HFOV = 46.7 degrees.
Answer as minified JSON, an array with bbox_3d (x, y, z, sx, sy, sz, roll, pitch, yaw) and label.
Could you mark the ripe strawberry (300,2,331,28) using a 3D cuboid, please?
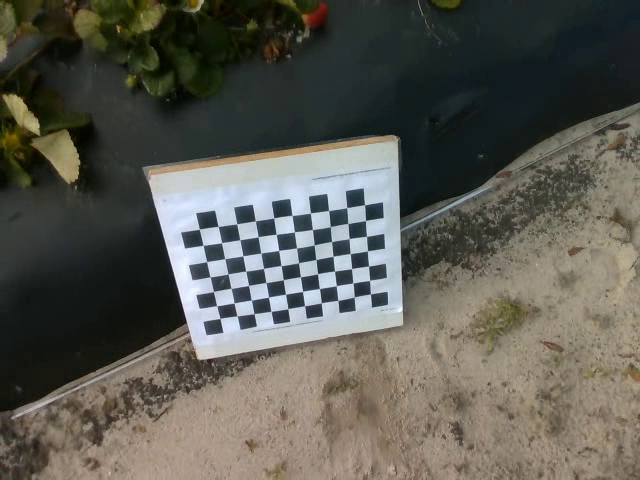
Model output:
[{"bbox_3d":[-0.006,-0.178,0.570,0.027,0.021,0.022,-26,-49,17],"label":"ripe strawberry"}]
